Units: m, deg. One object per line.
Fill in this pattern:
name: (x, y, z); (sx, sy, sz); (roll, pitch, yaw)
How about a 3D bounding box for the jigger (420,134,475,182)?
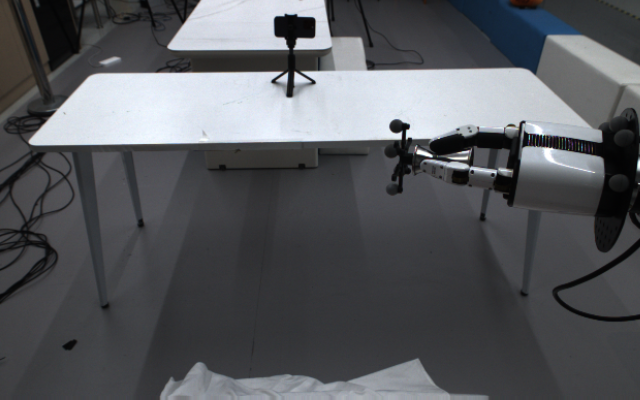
jigger: (0.158, -0.049, 0.598); (0.071, 0.043, 0.043); (7, 34, 22)
